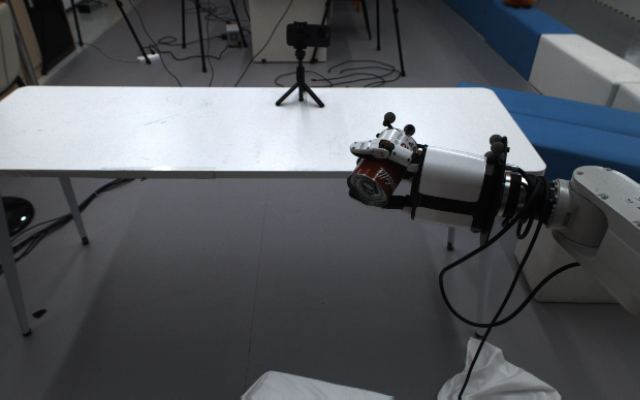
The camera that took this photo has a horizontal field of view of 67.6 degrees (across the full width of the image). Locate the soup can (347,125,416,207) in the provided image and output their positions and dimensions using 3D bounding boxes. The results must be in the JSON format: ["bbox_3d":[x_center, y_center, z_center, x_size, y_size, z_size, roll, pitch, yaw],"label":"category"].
[{"bbox_3d":[0.095,-0.051,0.714,0.067,0.067,0.101,22,61,26],"label":"soup can"}]
